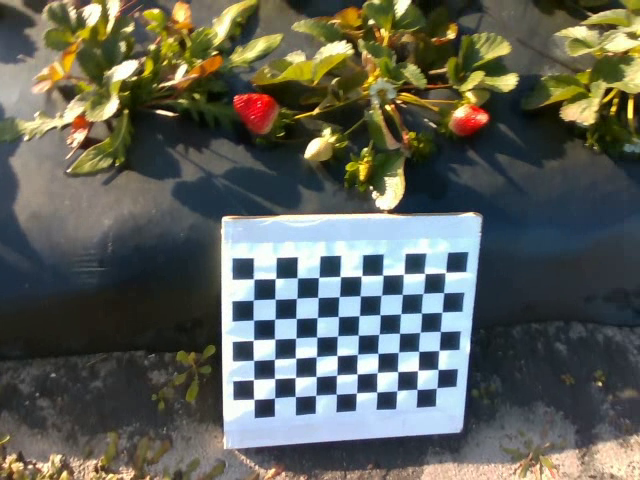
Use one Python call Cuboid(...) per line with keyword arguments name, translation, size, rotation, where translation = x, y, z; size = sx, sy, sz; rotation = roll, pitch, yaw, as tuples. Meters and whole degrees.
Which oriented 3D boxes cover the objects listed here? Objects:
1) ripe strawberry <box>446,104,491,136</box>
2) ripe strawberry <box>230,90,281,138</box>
Cuboid(name="ripe strawberry", translation=(0.144, -0.114, 0.980), size=(0.042, 0.037, 0.045), rotation=(-32, 28, -32))
Cuboid(name="ripe strawberry", translation=(-0.061, -0.121, 0.937), size=(0.053, 0.044, 0.036), rotation=(24, 14, -29))
